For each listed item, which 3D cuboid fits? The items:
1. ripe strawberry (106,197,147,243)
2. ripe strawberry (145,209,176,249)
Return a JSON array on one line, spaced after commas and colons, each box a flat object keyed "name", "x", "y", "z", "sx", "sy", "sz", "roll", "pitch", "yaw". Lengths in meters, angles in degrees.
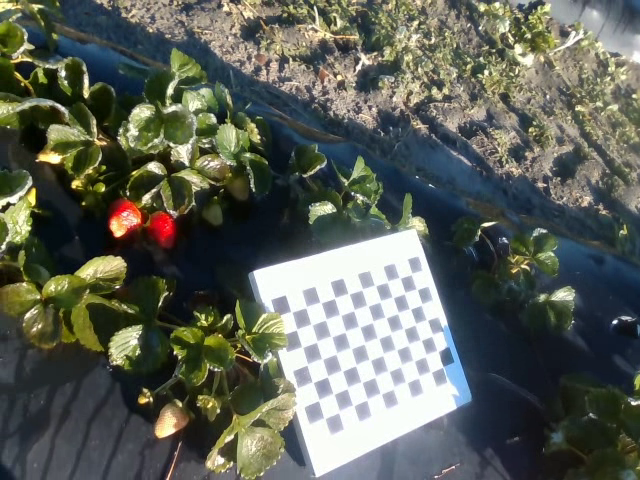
[{"name": "ripe strawberry", "x": -0.282, "y": -0.026, "z": 0.868, "sx": 0.053, "sy": 0.069, "sz": 0.040, "roll": 38, "pitch": -35, "yaw": -22}, {"name": "ripe strawberry", "x": -0.230, "y": -0.017, "z": 0.882, "sx": 0.044, "sy": 0.059, "sz": 0.040, "roll": -14, "pitch": -11, "yaw": -31}]
